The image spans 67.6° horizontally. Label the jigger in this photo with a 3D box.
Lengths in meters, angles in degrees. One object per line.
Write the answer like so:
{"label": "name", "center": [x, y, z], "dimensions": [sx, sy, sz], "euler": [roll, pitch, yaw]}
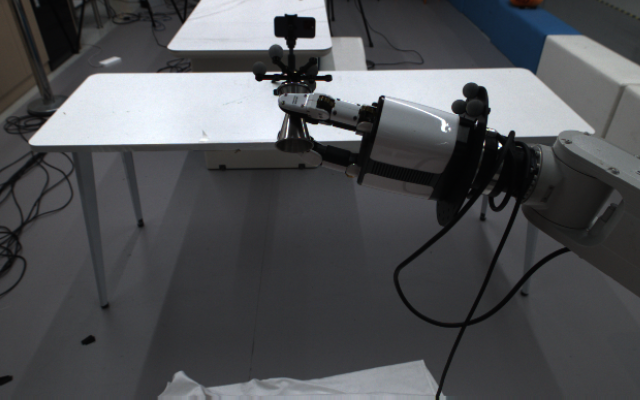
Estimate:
{"label": "jigger", "center": [-0.028, -0.094, 0.545], "dimensions": [0.043, 0.043, 0.071], "euler": [0, 75, -3]}
